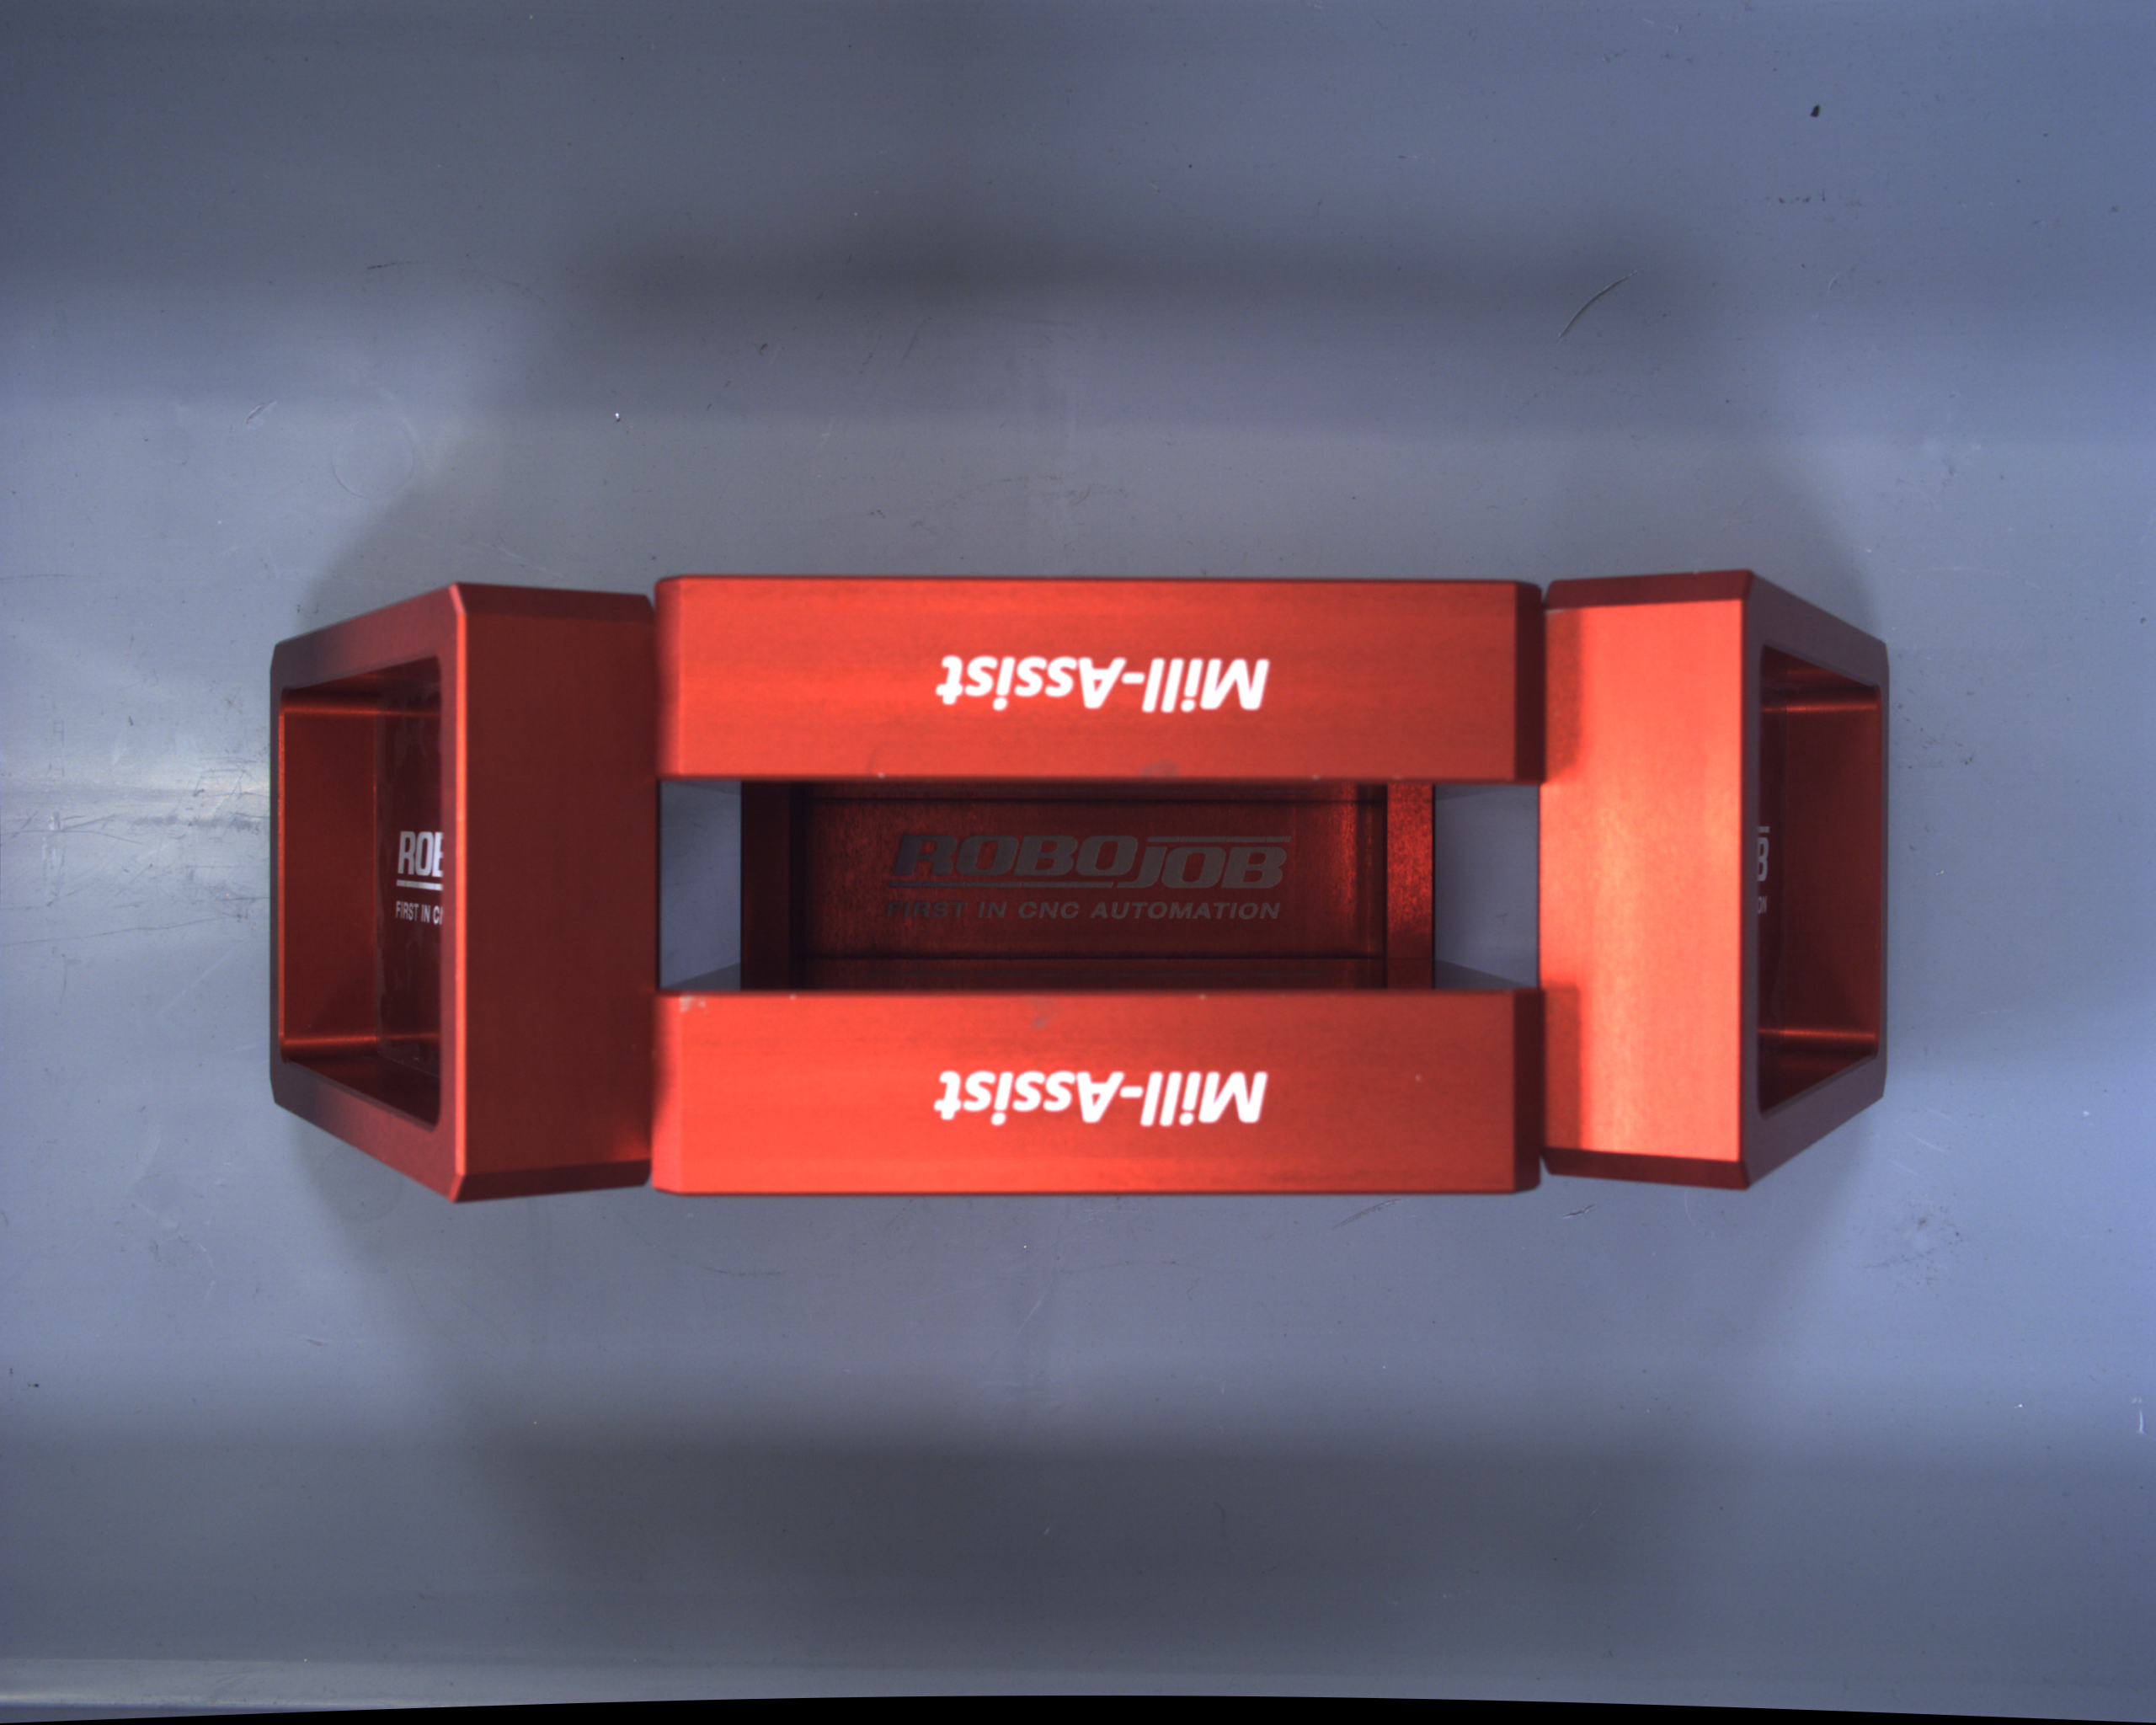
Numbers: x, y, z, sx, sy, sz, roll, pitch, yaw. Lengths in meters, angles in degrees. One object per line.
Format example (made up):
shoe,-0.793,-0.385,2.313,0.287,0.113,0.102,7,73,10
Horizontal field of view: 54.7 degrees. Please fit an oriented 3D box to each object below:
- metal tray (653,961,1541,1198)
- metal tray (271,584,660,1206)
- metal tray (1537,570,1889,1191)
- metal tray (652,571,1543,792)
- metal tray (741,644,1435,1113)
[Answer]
metal tray,0.003,0.034,0.347,0.131,0.090,0.030,0,90,-1
metal tray,-0.110,0.003,0.358,0.030,0.130,0.089,0,91,-32
metal tray,0.113,0.002,0.359,0.030,0.131,0.089,1,91,30
metal tray,0.003,-0.027,0.347,0.131,0.090,0.030,0,90,0
metal tray,0.002,0.003,0.407,0.131,0.030,0.089,0,90,-1
